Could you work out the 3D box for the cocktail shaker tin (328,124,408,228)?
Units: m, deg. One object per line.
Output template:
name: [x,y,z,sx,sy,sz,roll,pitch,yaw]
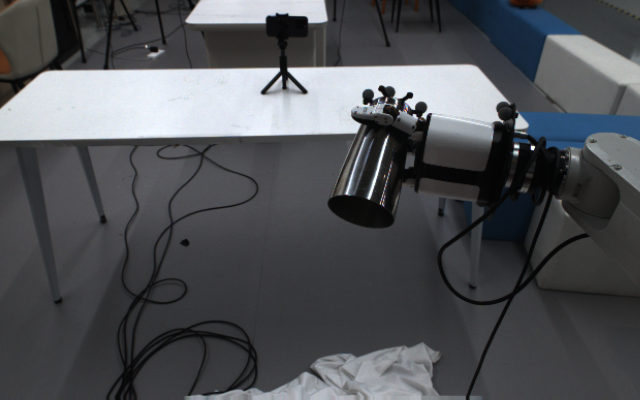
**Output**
cocktail shaker tin: [0.081,-0.060,0.672,0.093,0.093,0.170,12,65,15]
